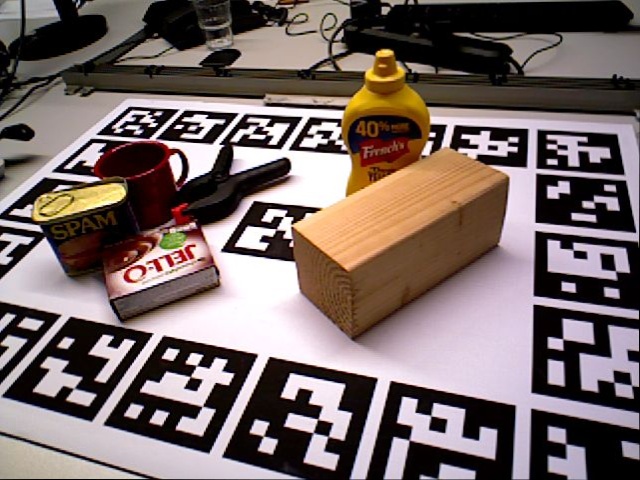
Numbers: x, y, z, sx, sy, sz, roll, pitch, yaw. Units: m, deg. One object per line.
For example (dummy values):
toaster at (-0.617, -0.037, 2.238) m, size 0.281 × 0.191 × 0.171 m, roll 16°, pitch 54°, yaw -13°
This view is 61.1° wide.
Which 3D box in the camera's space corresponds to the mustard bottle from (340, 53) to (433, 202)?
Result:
mustard bottle at (0.071, -0.114, 0.579) m, size 0.096 × 0.195 × 0.057 m, roll 3°, pitch 42°, yaw 13°

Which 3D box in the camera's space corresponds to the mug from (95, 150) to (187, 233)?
mug at (-0.215, -0.060, 0.689) m, size 0.093 × 0.083 × 0.114 m, roll 25°, pitch 52°, yaw 32°

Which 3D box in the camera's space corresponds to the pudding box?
pudding box at (-0.168, 0.032, 0.575) m, size 0.112 × 0.039 × 0.089 m, roll -19°, pitch 42°, yaw -14°

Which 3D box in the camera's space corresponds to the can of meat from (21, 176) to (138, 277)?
can of meat at (-0.259, -0.014, 0.600) m, size 0.101 × 0.085 × 0.057 m, roll -14°, pitch 42°, yaw -6°

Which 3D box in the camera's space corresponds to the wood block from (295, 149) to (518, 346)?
wood block at (0.087, 0.000, 0.533) m, size 0.202 × 0.093 × 0.090 m, roll -28°, pitch 43°, yaw -24°

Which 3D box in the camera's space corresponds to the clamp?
clamp at (-0.126, -0.073, 0.695) m, size 0.122 × 0.037 × 0.161 m, roll 23°, pitch 52°, yaw 29°
